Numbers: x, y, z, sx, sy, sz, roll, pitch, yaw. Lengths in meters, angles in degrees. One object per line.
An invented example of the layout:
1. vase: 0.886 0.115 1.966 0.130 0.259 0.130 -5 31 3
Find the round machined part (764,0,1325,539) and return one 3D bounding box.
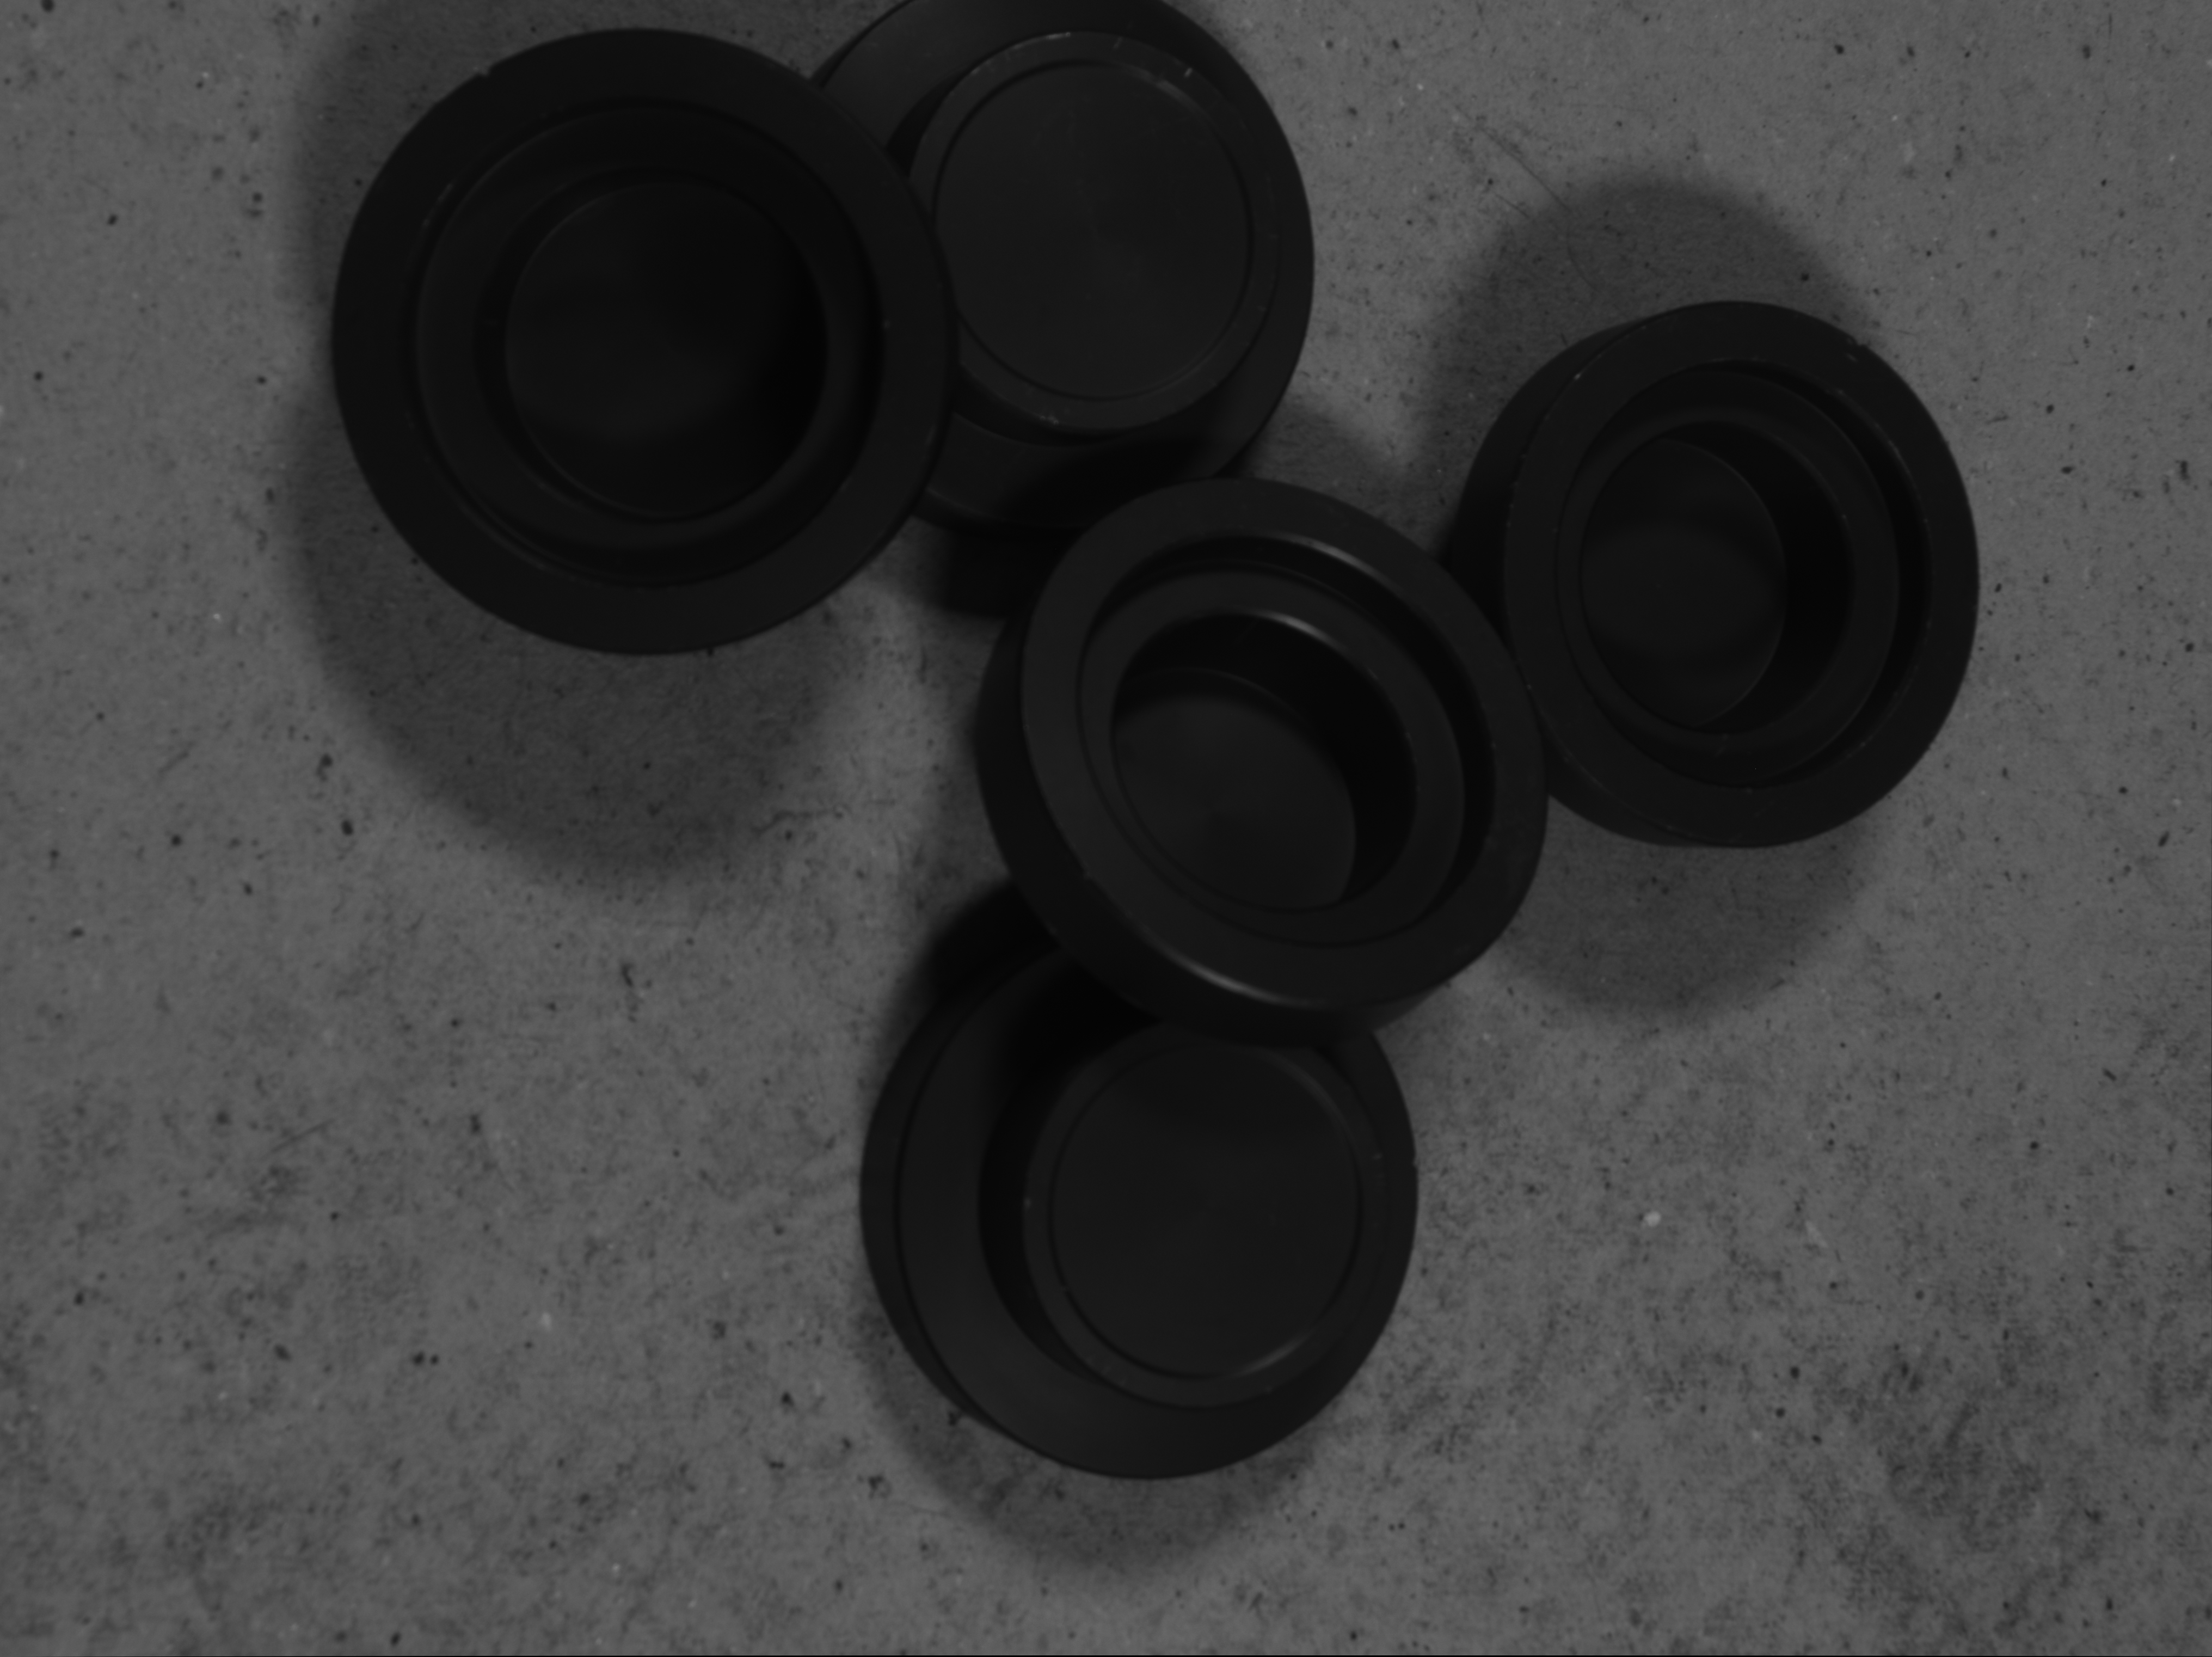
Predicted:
1. round machined part: -0.007 -0.100 0.631 0.098 0.042 0.098 0 90 -20

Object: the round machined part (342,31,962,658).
1. round machined part: -0.071 -0.078 0.597 0.098 0.042 0.098 0 97 1

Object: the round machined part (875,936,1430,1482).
1. round machined part: 0.012 0.065 0.638 0.098 0.042 0.098 0 90 -20

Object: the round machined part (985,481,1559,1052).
1. round machined part: 0.025 -0.007 0.632 0.098 0.042 0.098 9 64 -19

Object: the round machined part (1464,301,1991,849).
1. round machined part: 0.110 -0.045 0.674 0.098 0.042 0.098 0 90 -20
